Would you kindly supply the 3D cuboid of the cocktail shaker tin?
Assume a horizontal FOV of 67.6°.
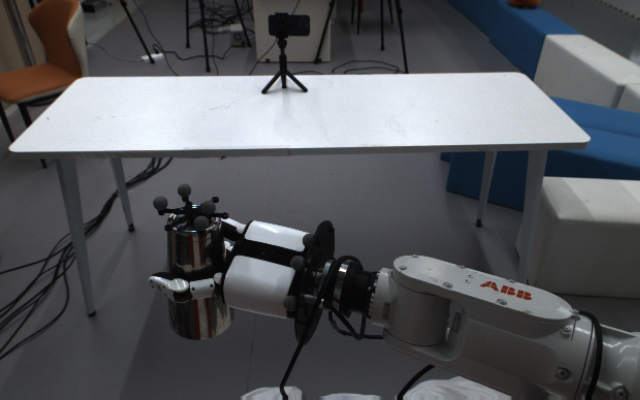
[{"bbox_3d":[-0.163,0.095,0.652,0.093,0.170,0.093,3,32,-2],"label":"cocktail shaker tin"}]
